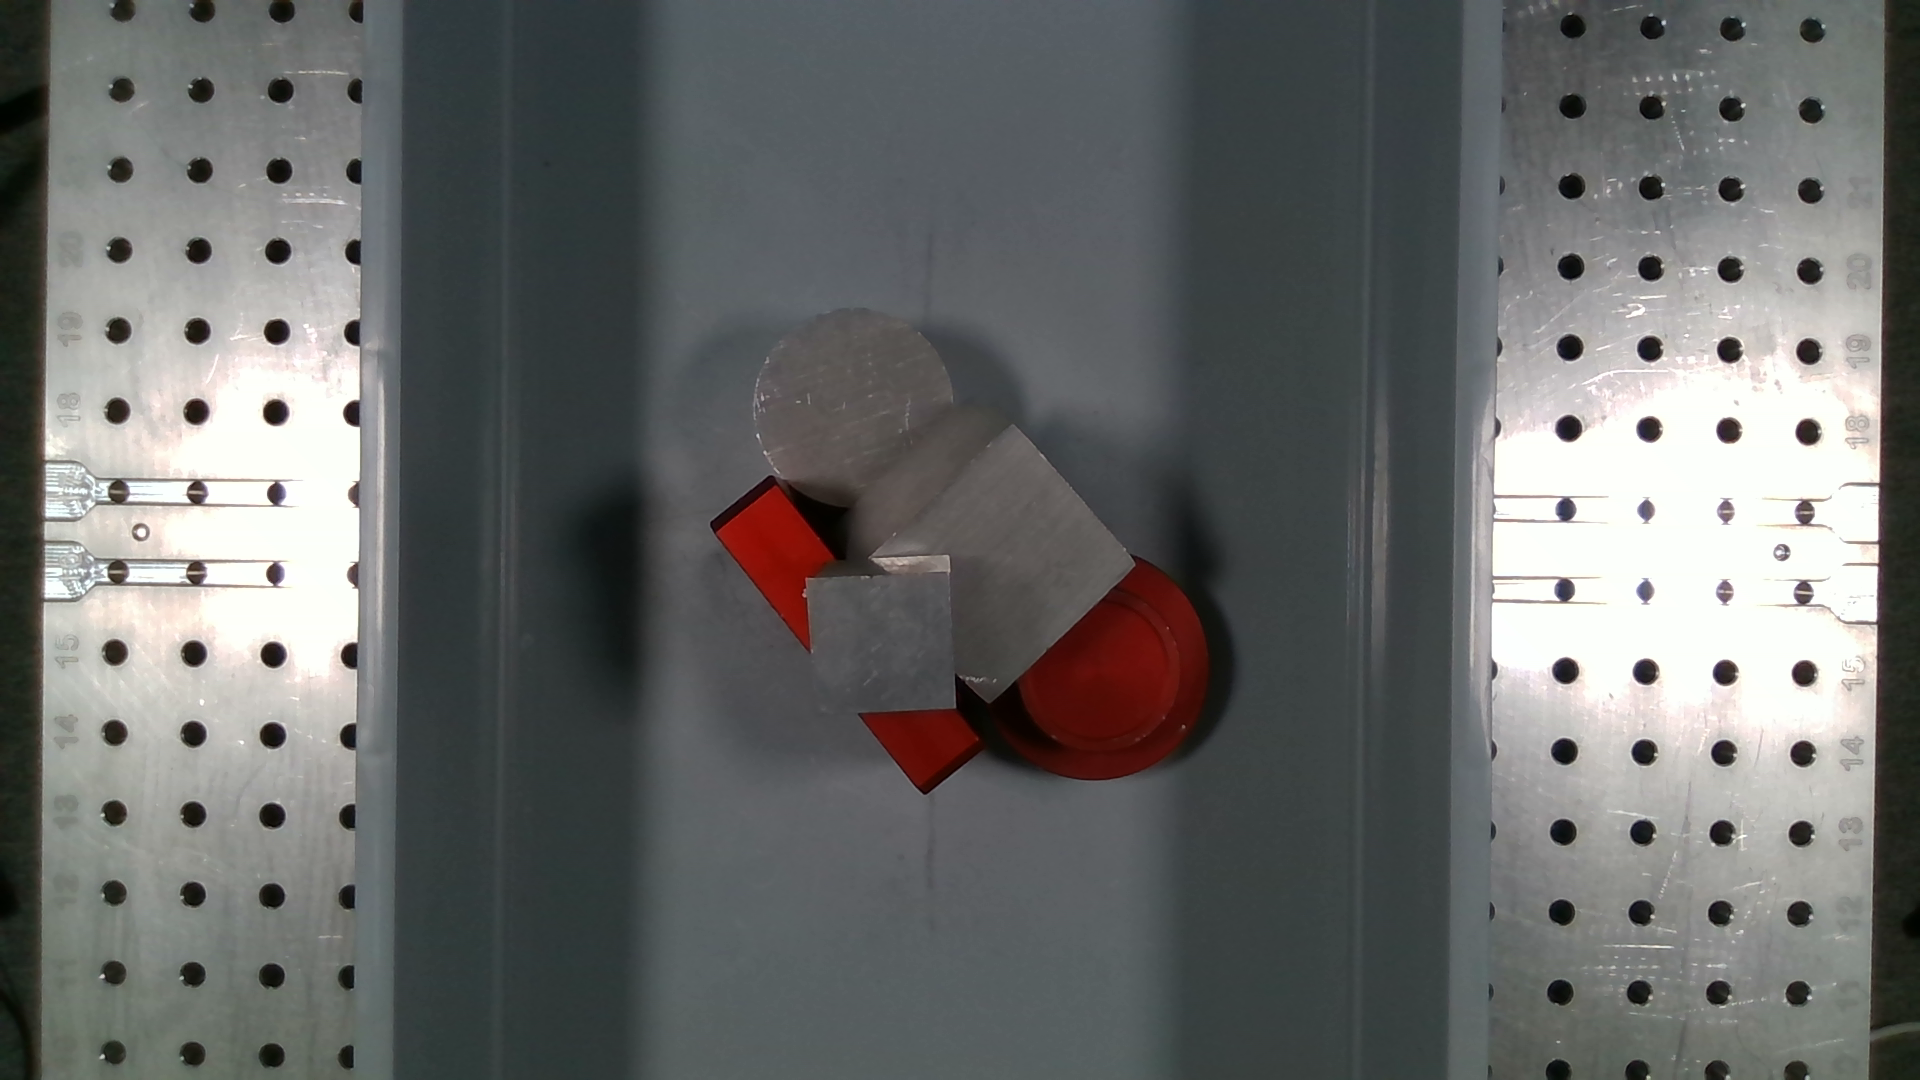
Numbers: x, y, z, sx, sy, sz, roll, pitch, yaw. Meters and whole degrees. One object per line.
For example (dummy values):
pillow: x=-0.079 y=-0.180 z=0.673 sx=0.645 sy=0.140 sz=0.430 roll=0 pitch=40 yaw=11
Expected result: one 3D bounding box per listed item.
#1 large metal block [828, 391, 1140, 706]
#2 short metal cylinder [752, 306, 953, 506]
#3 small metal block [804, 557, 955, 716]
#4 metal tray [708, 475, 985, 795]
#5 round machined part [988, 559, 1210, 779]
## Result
large metal block: x=0.008 y=0.003 z=0.538 sx=0.080 sy=0.050 sz=0.080 roll=-44 pitch=115 yaw=0
short metal cylinder: x=-0.043 y=-0.053 z=0.572 sx=0.080 sy=0.050 sz=0.080 roll=0 pitch=90 yaw=0
small metal block: x=-0.028 y=0.034 z=0.491 sx=0.050 sy=0.025 sz=0.050 roll=-3 pitch=103 yaw=-1
metal tray: x=-0.043 y=0.036 z=0.553 sx=0.030 sy=0.090 sz=0.130 roll=-38 pitch=91 yaw=-1
round machined part: x=0.056 y=0.052 z=0.578 sx=0.098 sy=0.042 sz=0.098 roll=0 pitch=90 yaw=0
